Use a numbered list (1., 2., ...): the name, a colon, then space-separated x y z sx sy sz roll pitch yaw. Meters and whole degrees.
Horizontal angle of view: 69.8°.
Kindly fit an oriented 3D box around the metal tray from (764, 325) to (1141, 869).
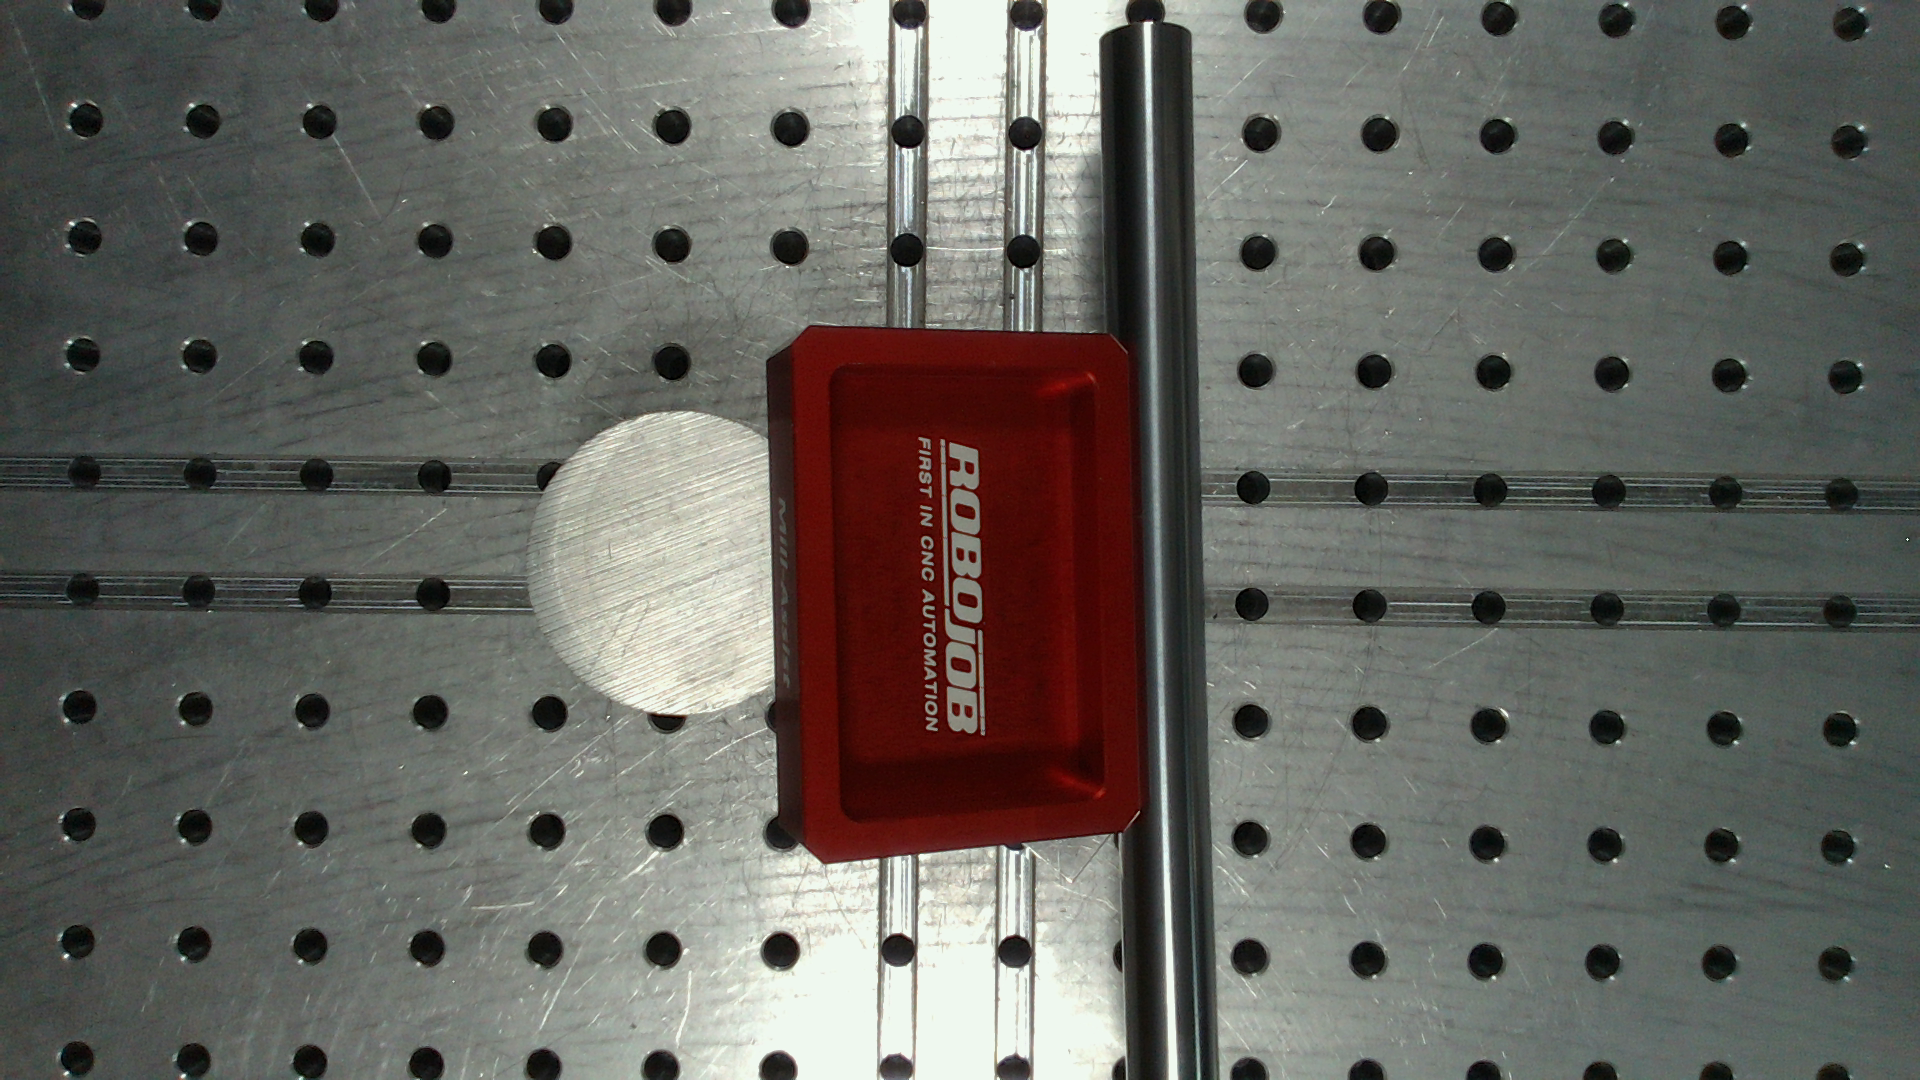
1. metal tray: -0.002 0.013 0.355 0.090 0.030 0.130 -2 90 -20

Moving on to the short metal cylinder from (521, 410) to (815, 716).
1. short metal cylinder: -0.074 0.006 0.384 0.080 0.050 0.080 0 90 0

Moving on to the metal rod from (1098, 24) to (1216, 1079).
1. metal rod: 0.054 0.015 0.373 0.025 0.025 0.300 -1 90 0

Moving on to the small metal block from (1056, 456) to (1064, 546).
1. small metal block: 0.037 -0.026 0.398 0.050 0.025 0.050 -15 90 0

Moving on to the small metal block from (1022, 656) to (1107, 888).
1. small metal block: 0.027 0.062 0.397 0.050 0.025 0.050 39 90 0
